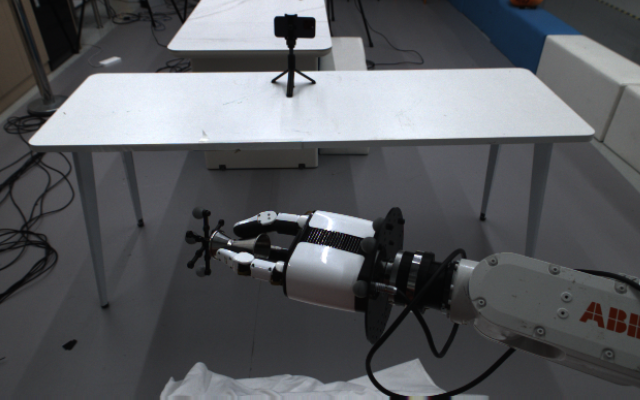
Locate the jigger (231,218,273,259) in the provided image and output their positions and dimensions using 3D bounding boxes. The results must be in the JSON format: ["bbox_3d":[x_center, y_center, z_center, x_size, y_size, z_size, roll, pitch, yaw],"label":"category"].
[{"bbox_3d":[-0.097,0.059,0.626,0.071,0.043,0.043,4,33,22],"label":"jigger"}]
